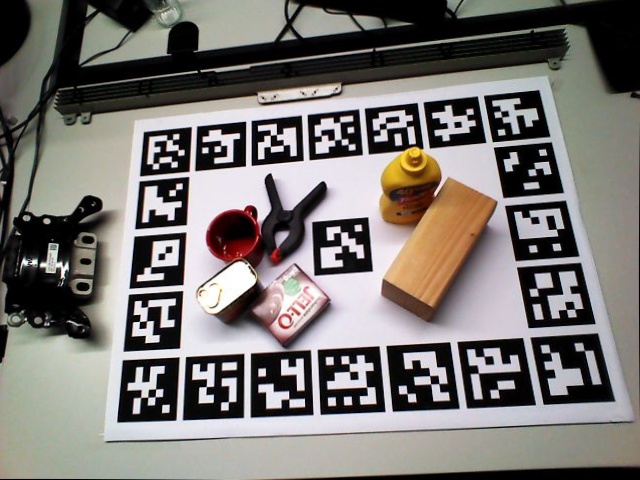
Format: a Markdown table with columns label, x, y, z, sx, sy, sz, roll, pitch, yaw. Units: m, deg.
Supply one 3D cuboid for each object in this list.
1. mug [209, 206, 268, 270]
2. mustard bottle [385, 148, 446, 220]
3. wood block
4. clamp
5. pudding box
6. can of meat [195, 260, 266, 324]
| label | x | y | z | sx | sy | sz | roll | pitch | yaw |
| --- | --- | --- | --- | --- | --- | --- | --- | --- | --- |
| mug | -0.133 | -0.003 | 0.907 | 0.093 | 0.081 | 0.116 | 17 | 74 | 13 |
| mustard bottle | 0.151 | -0.093 | 0.820 | 0.096 | 0.192 | 0.058 | -9 | 70 | 4 |
| wood block | 0.203 | 0.020 | 0.832 | 0.090 | 0.091 | 0.205 | 31 | 75 | 18 |
| clamp | -0.052 | -0.045 | 0.917 | 0.122 | 0.036 | 0.164 | 14 | 74 | 10 |
| pudding box | -0.041 | 0.110 | 0.853 | 0.113 | 0.039 | 0.090 | -42 | 71 | -10 |
| can of meat | -0.143 | 0.088 | 0.844 | 0.102 | 0.084 | 0.058 | -33 | 71 | -6 |
